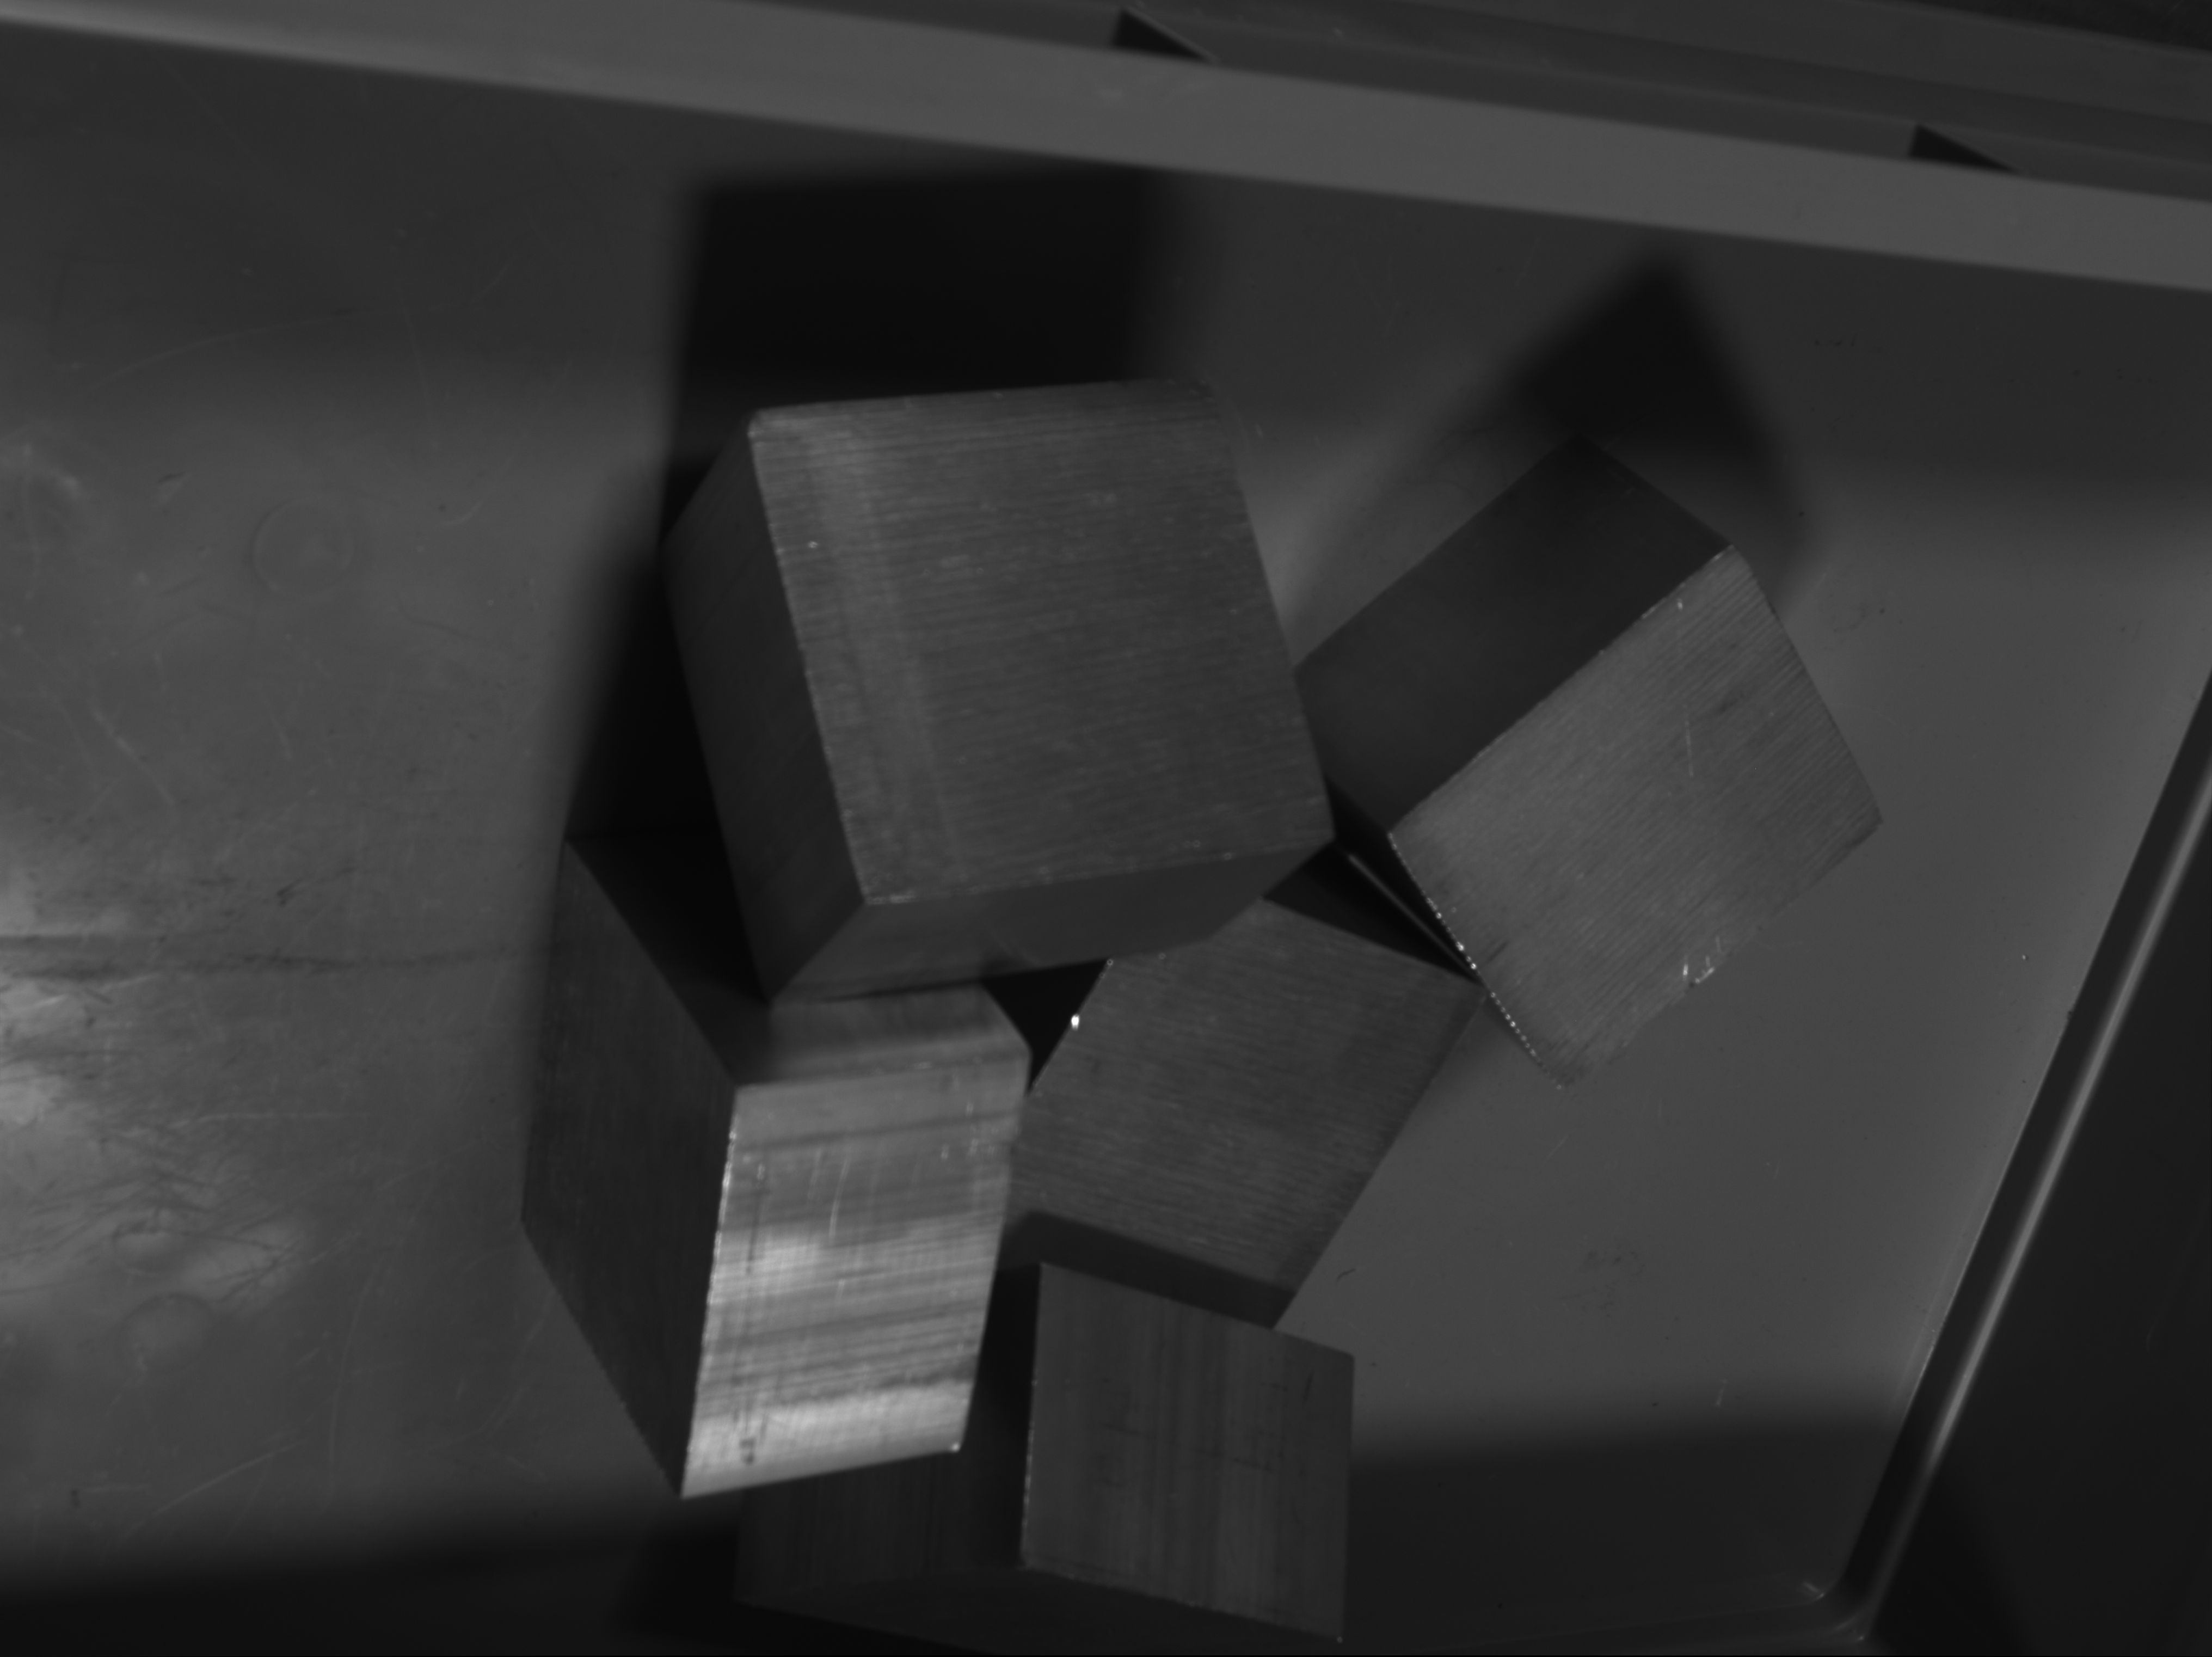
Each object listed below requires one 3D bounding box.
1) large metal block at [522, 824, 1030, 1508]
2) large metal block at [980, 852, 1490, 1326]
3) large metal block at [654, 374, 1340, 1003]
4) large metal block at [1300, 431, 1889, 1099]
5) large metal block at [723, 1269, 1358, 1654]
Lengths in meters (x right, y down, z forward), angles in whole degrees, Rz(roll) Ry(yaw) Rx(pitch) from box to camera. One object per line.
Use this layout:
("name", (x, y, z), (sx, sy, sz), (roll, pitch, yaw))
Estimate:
("large metal block", (-0.058, 0.053, 0.613), (0.050, 0.080, 0.080), (-5, 121, -27))
("large metal block", (0.008, 0.039, 0.663), (0.080, 0.050, 0.080), (21, 106, -38))
("large metal block", (-0.019, -0.023, 0.581), (0.080, 0.080, 0.050), (-7, 163, -26))
("large metal block", (0.086, -0.011, 0.676), (0.080, 0.050, 0.080), (-40, 130, -3))
("large metal block", (-0.011, 0.119, 0.672), (0.080, 0.080, 0.050), (22, 64, -39))
